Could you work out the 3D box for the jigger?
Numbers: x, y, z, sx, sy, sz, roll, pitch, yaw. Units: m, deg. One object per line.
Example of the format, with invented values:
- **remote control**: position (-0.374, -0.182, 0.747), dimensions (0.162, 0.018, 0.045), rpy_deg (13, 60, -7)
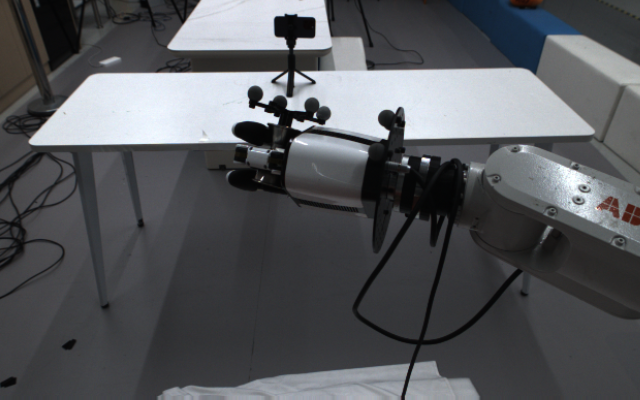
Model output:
- **jigger**: position (-0.046, -0.050, 0.556), dimensions (0.043, 0.071, 0.043), rpy_deg (14, 1, 0)
